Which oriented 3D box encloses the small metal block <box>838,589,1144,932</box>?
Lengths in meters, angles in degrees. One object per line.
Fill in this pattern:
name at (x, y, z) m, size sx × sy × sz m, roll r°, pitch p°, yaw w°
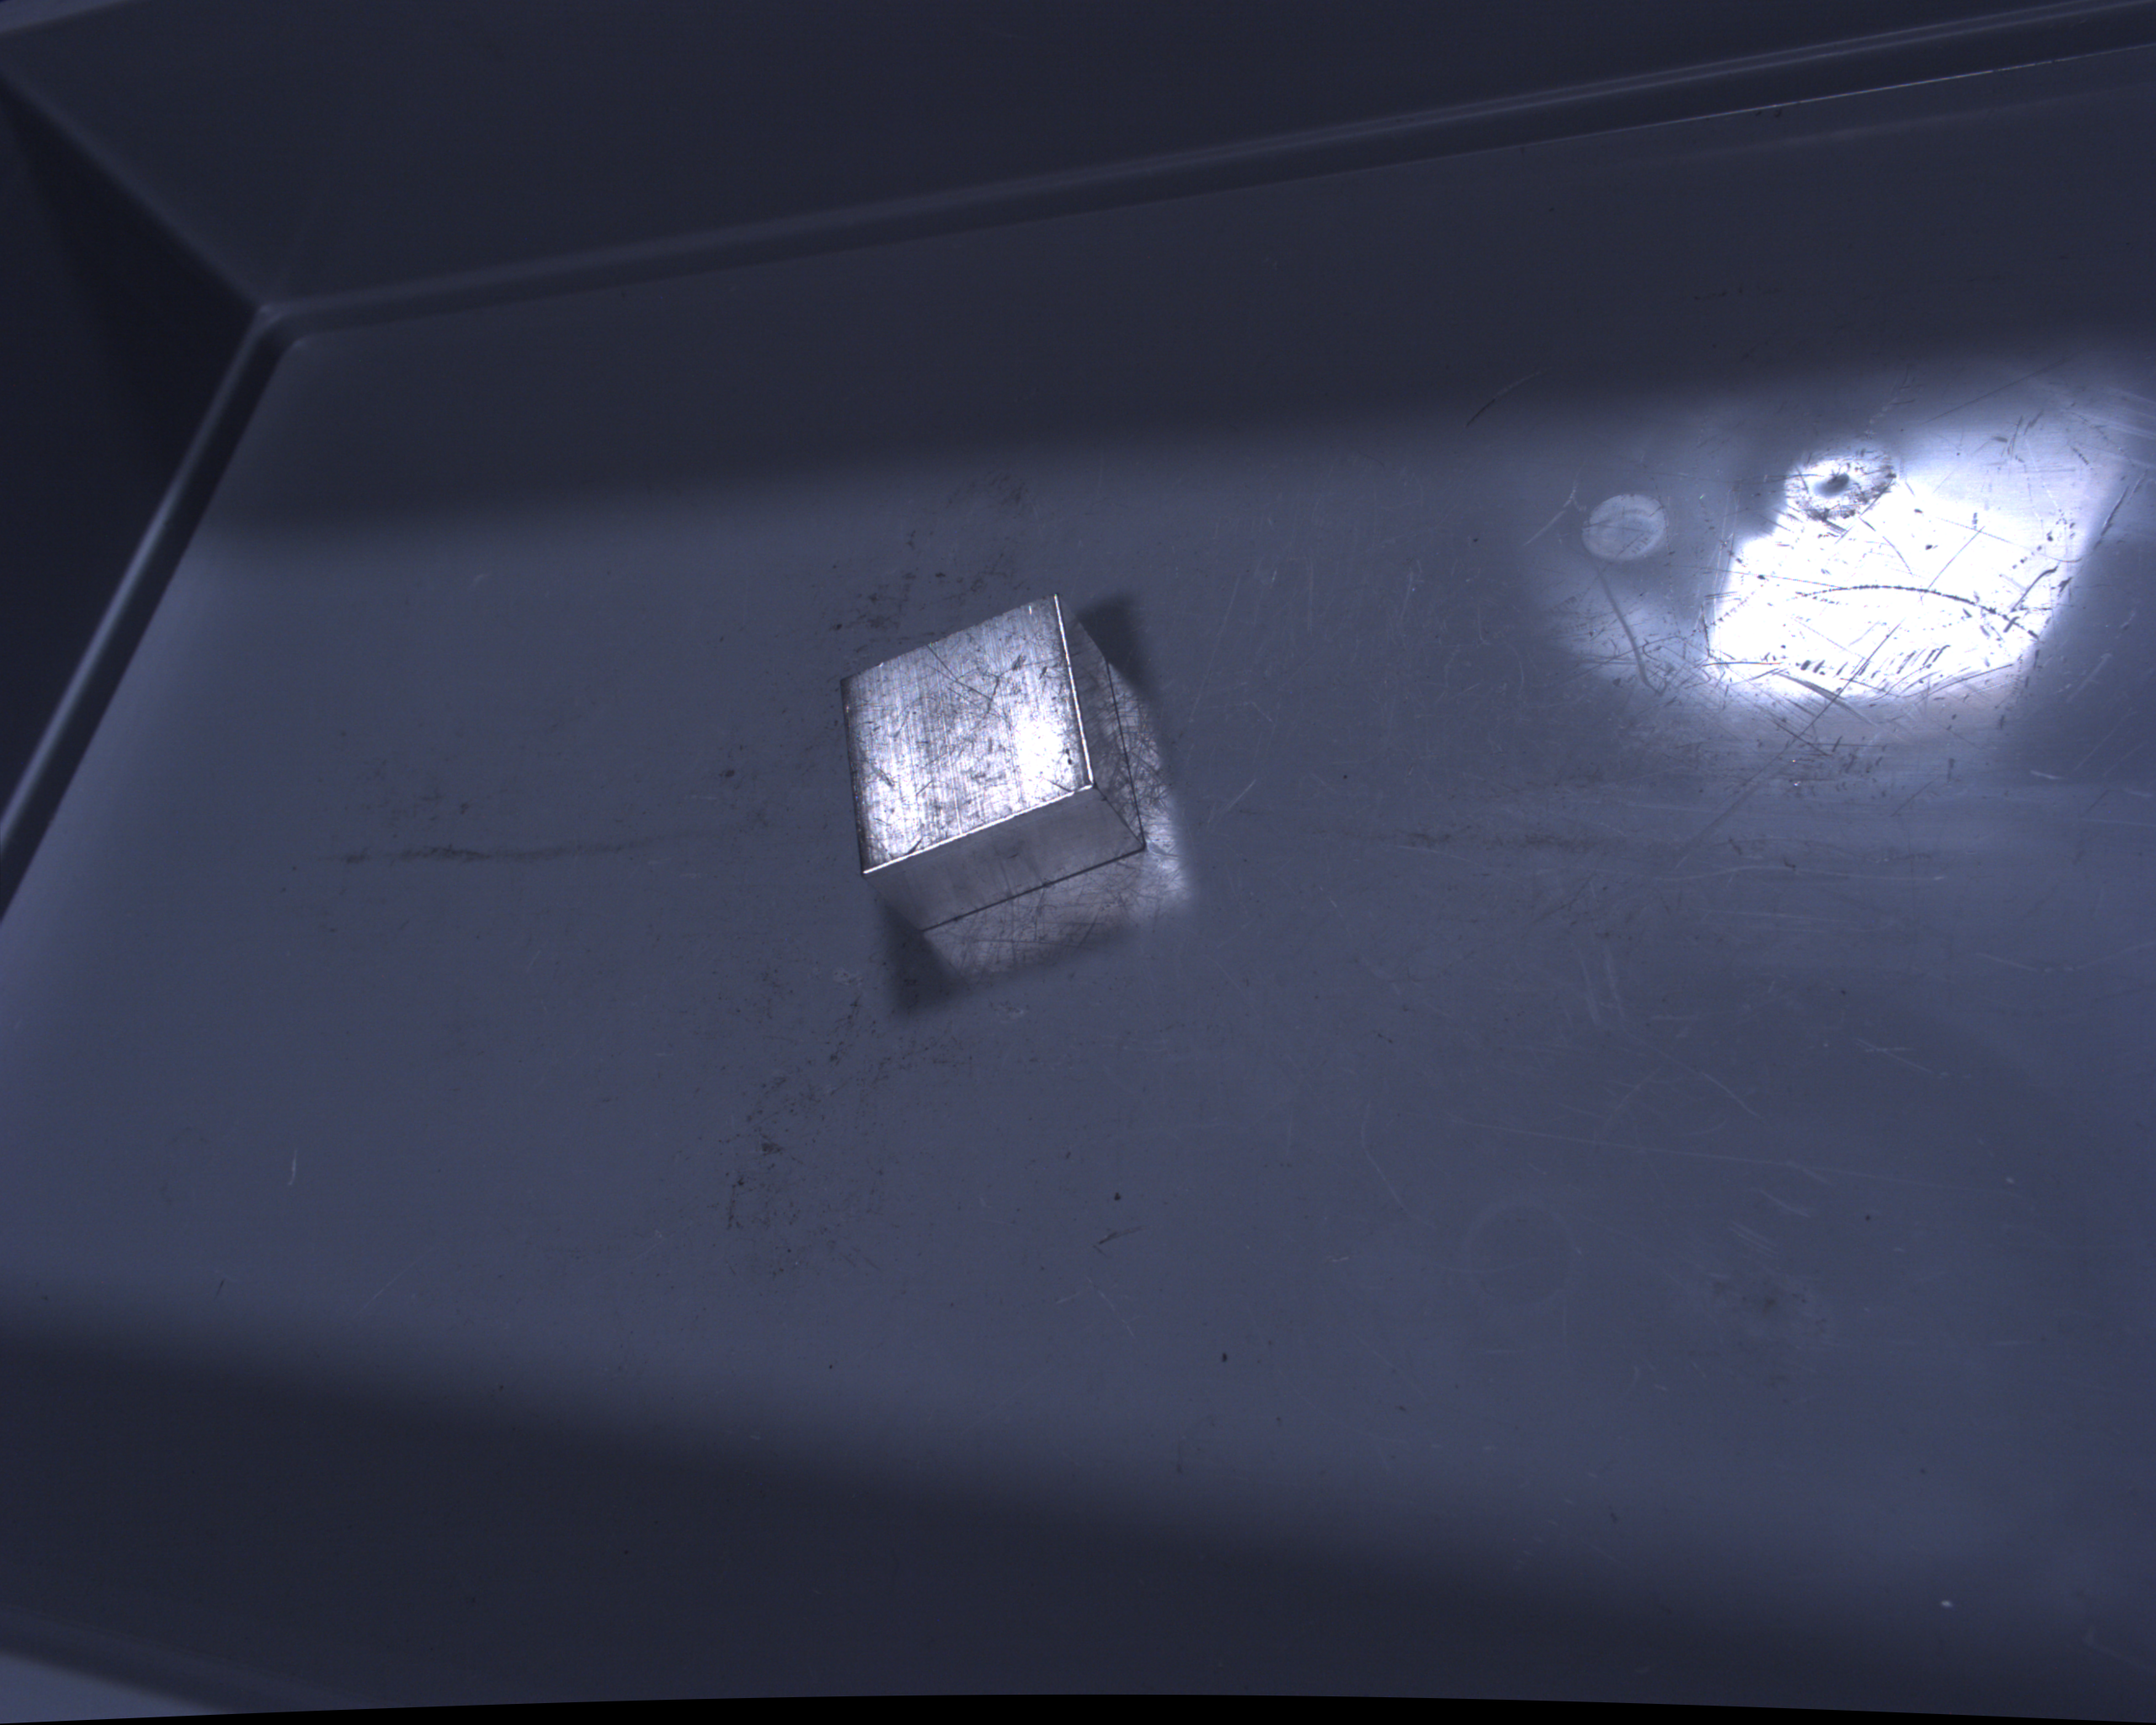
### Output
small metal block at (-0.018, -0.020, 0.422) m, size 0.050 × 0.025 × 0.050 m, roll -21°, pitch 54°, yaw 15°
